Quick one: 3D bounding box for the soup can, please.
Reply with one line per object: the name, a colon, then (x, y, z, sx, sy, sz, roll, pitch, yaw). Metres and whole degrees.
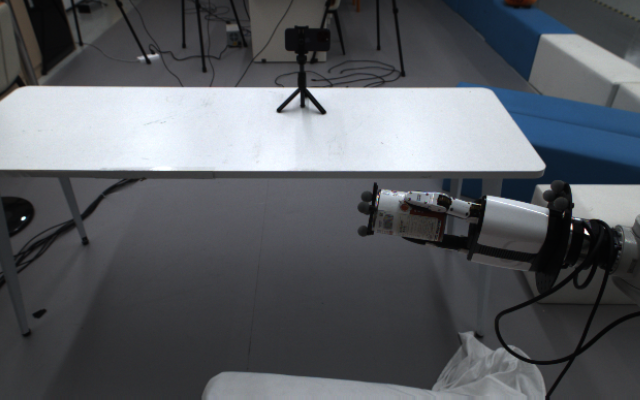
soup can: (0.135, 0.022, 0.718, 0.101, 0.067, 0.067, 8, 35, 9)
